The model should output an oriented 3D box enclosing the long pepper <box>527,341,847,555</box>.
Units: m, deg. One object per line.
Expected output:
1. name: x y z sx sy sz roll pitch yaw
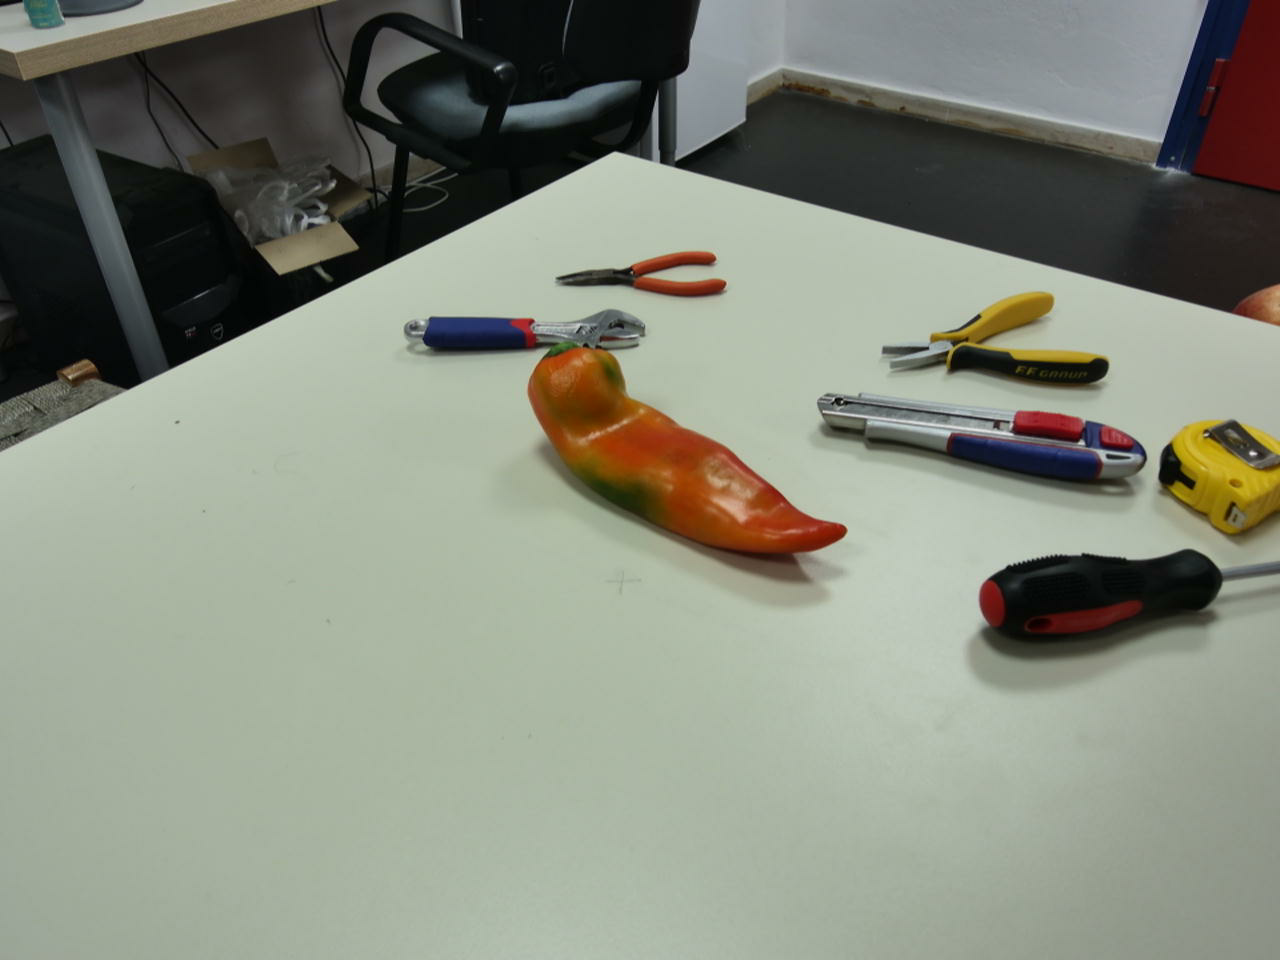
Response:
1. long pepper: 0.019 -0.015 0.524 0.199 0.065 0.066 29 47 33
